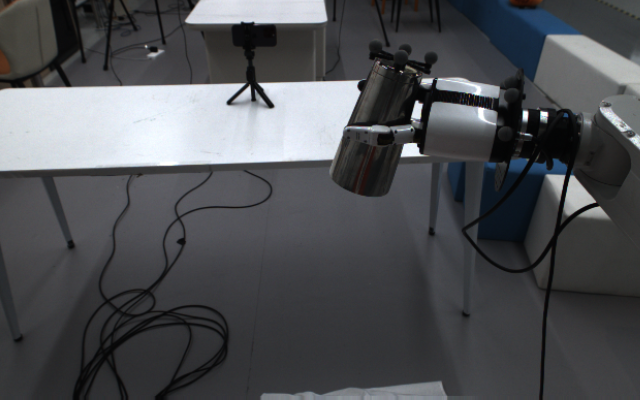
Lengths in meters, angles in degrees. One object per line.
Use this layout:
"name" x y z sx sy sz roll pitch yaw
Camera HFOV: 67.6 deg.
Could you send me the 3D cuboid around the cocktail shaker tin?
"cocktail shaker tin" 0.081 -0.103 0.662 0.093 0.170 0.093 12 29 -7
